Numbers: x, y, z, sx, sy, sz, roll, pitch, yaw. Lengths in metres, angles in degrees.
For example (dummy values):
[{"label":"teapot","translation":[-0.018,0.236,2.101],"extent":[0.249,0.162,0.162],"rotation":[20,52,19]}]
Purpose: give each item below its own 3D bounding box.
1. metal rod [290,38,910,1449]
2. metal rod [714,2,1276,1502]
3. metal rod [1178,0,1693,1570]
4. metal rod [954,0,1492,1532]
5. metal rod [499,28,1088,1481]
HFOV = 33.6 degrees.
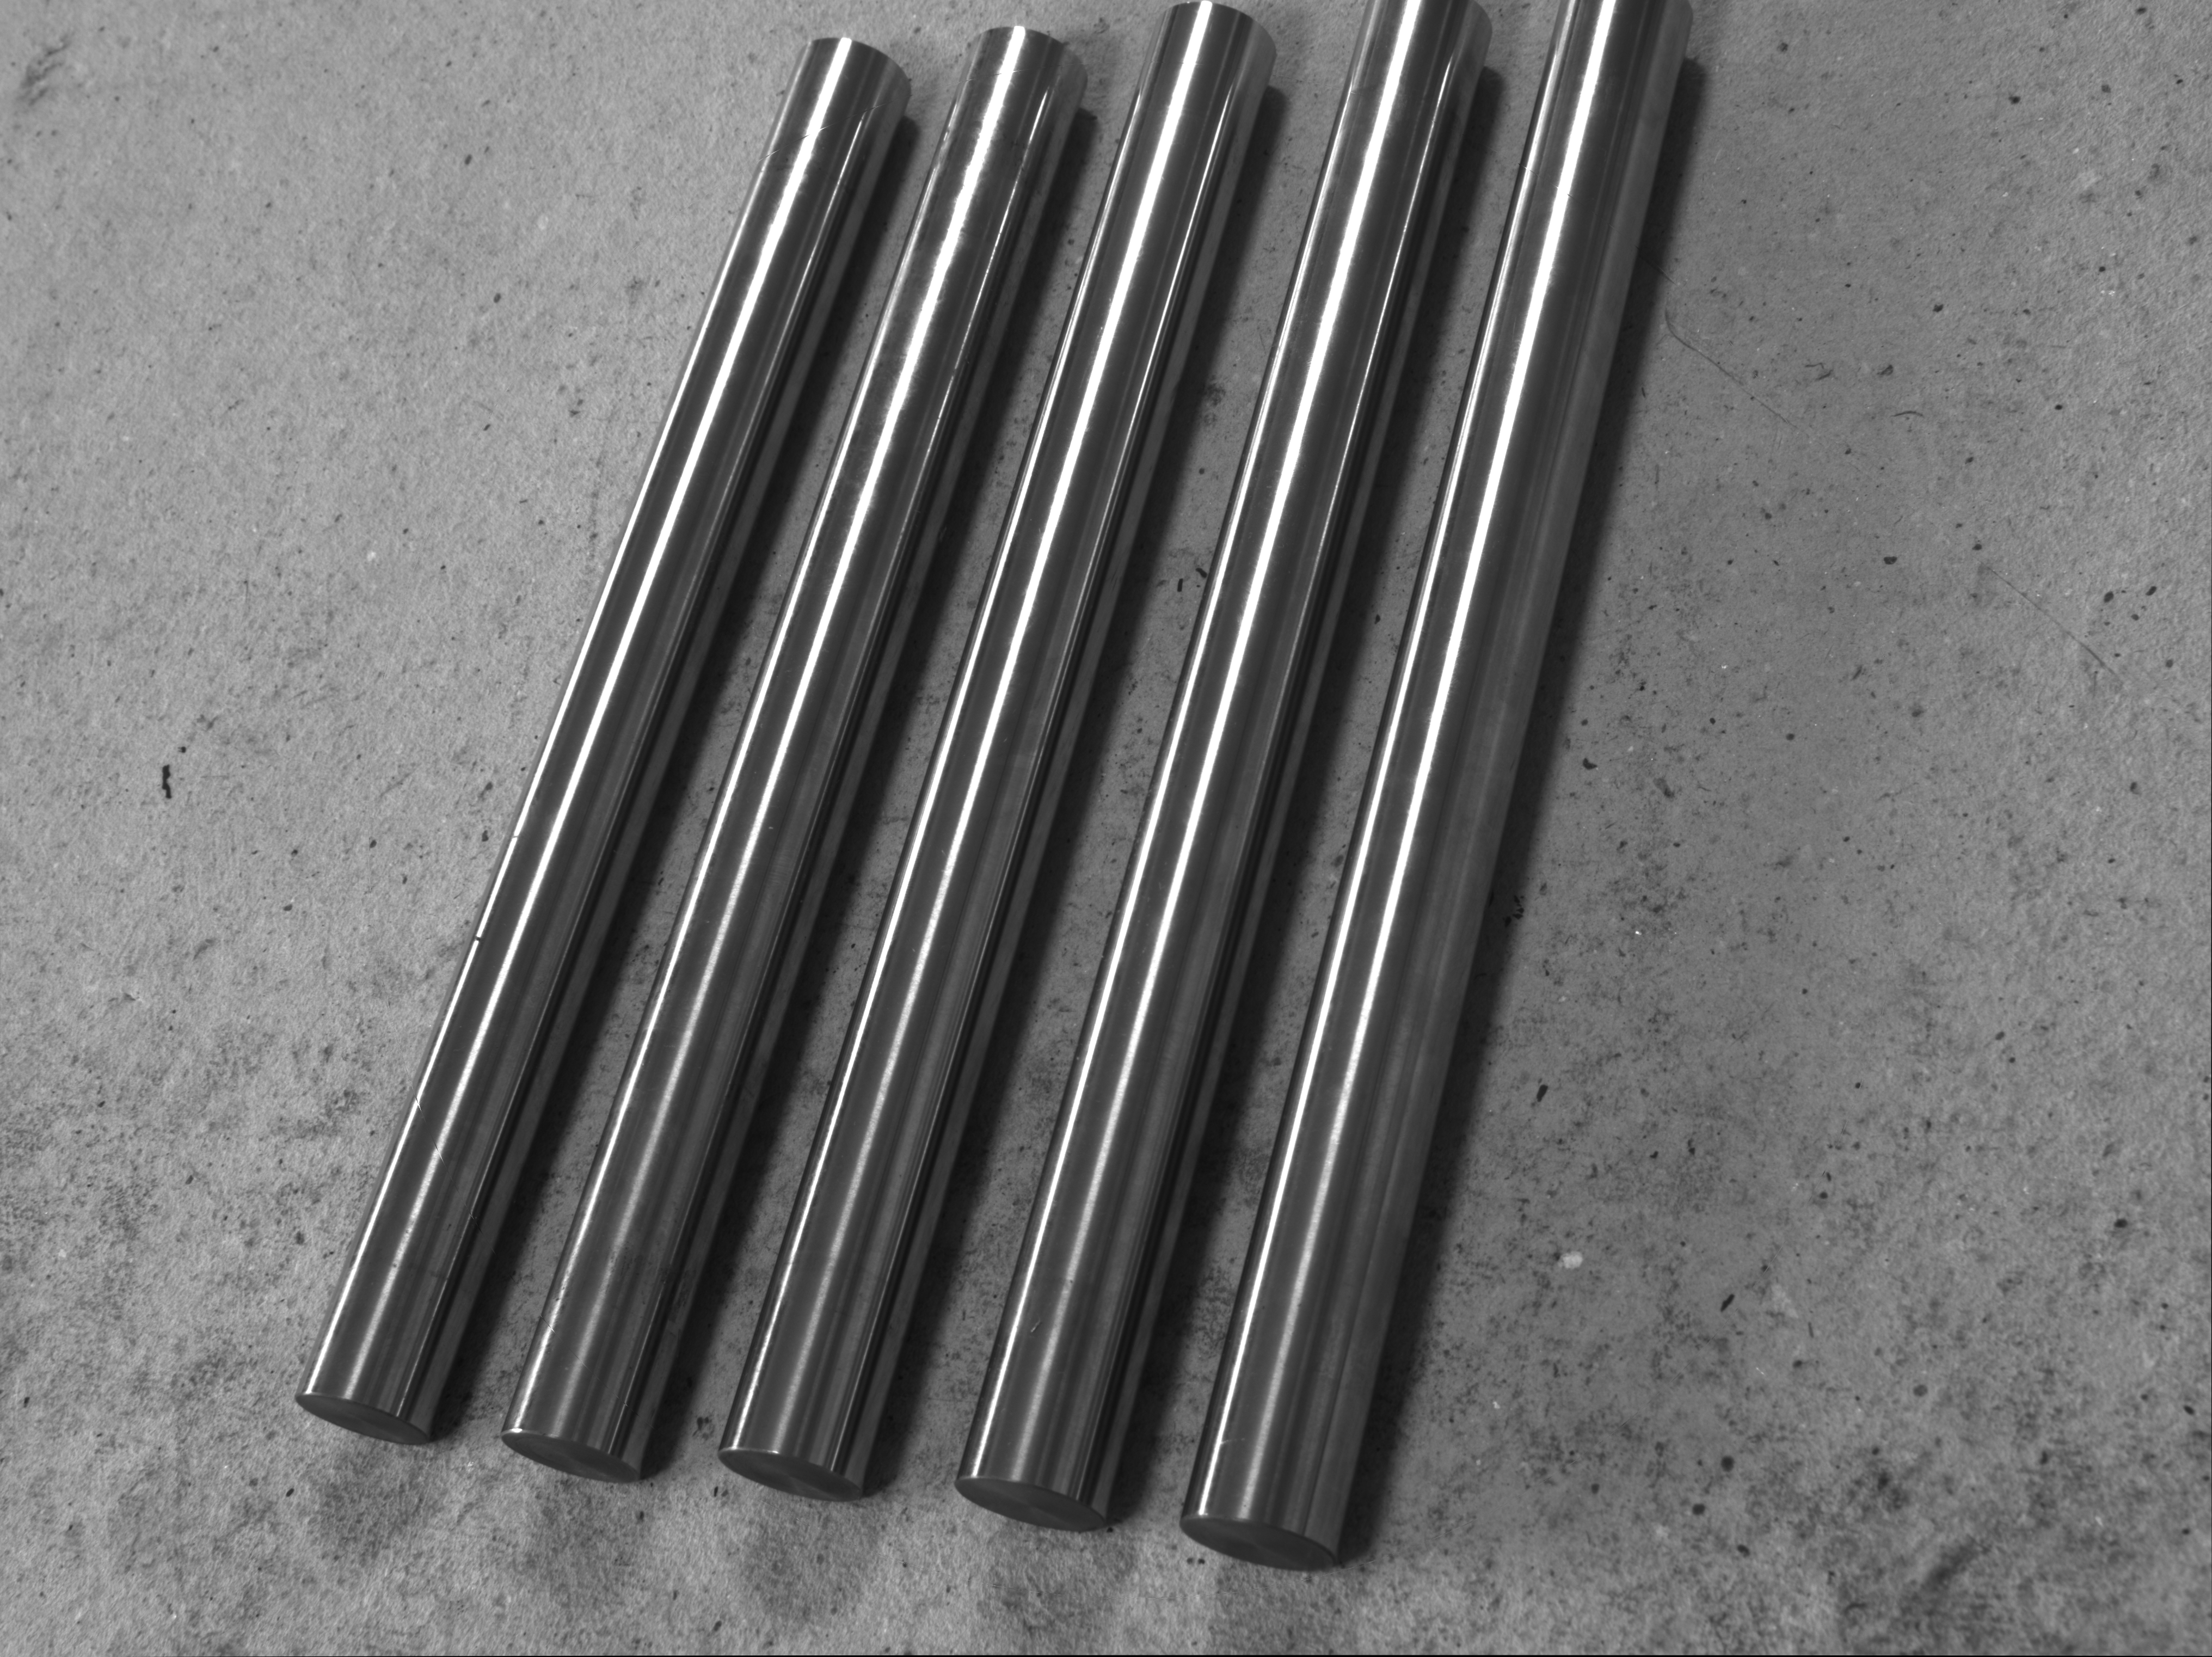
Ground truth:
[{"label":"metal rod","translation":[-0.093,-0.026,0.710],"extent":[0.025,0.025,0.300],"rotation":[2,62,30]},{"label":"metal rod","translation":[-0.016,-0.025,0.668],"extent":[0.025,0.025,0.300],"rotation":[1,62,29]},{"label":"metal rod","translation":[0.060,-0.022,0.626],"extent":[0.025,0.025,0.300],"rotation":[1,62,29]},{"label":"metal rod","translation":[0.025,-0.024,0.646],"extent":[0.025,0.025,0.300],"rotation":[1,62,29]},{"label":"metal rod","translation":[-0.054,-0.024,0.689],"extent":[0.025,0.025,0.300],"rotation":[2,62,29]}]
